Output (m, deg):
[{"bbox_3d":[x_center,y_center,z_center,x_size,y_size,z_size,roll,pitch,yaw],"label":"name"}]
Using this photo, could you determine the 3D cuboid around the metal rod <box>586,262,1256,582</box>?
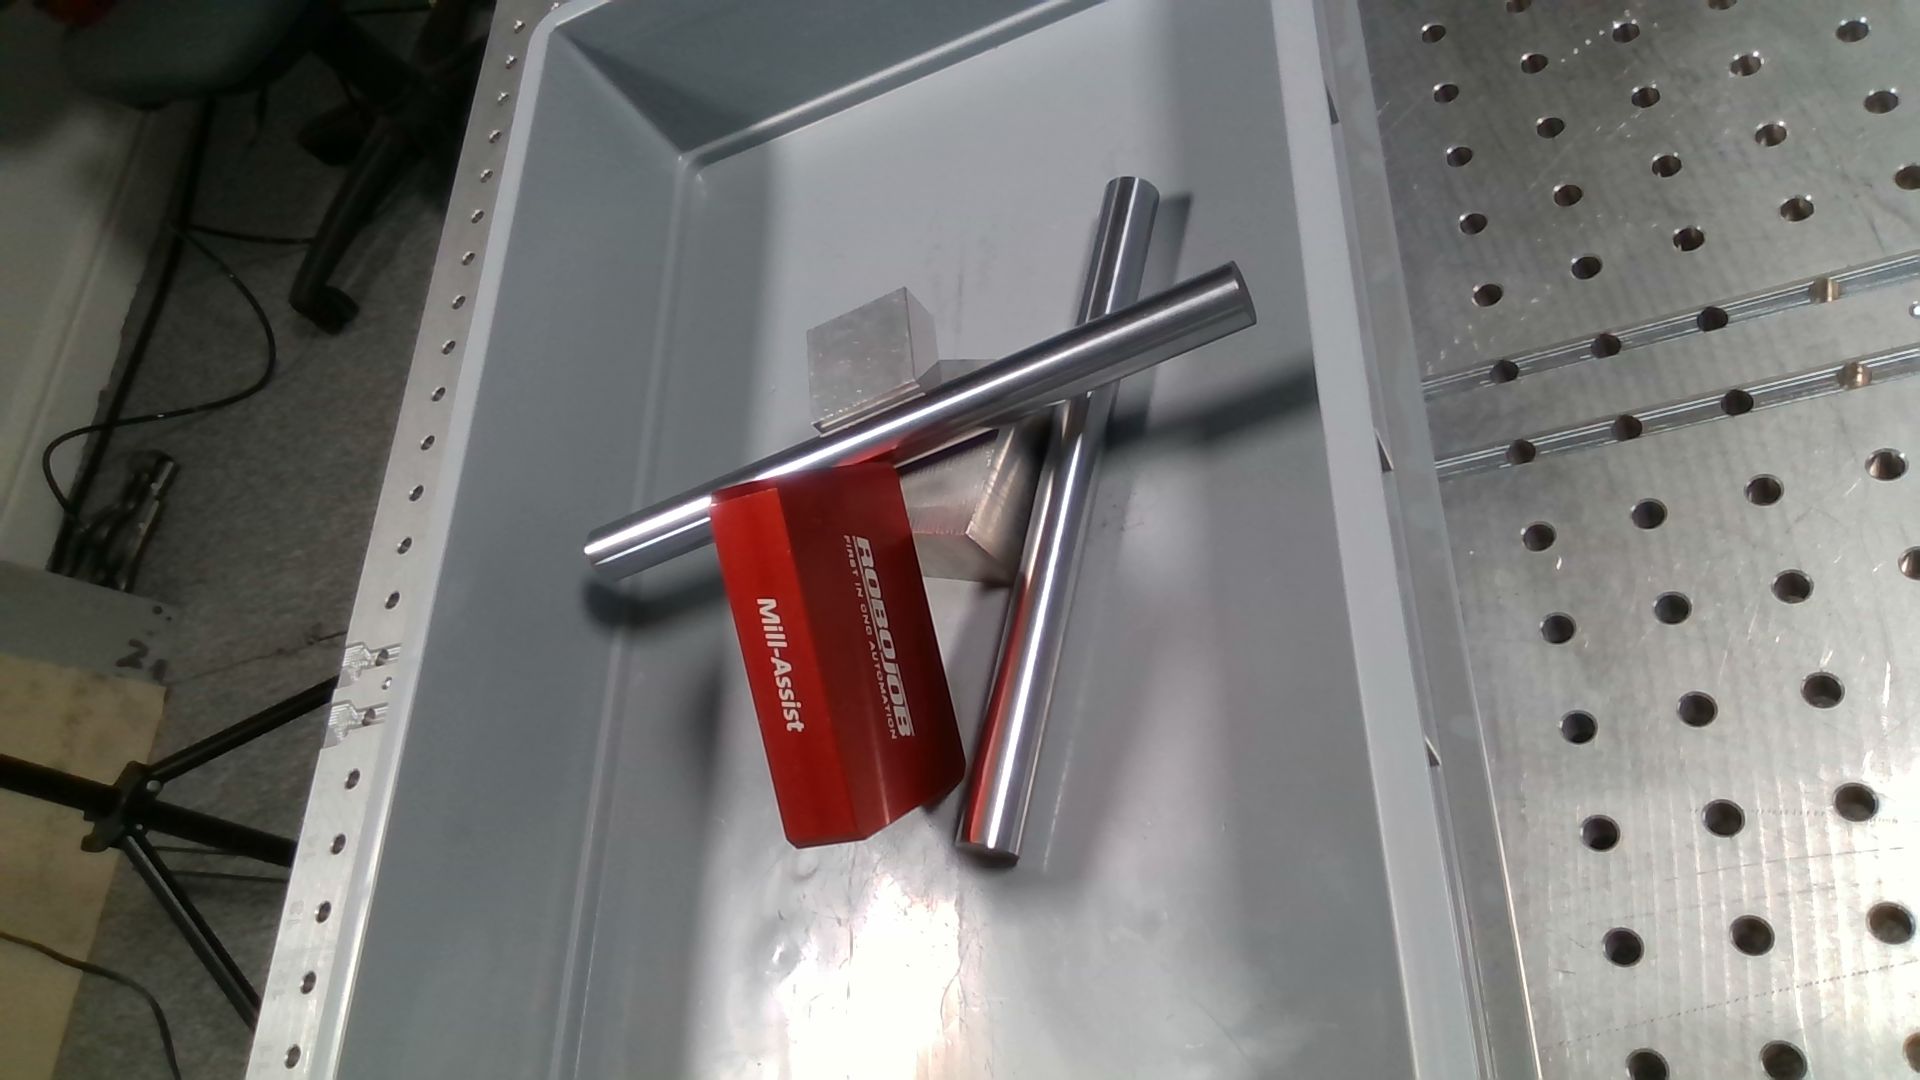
[{"bbox_3d":[-0.027,-0.041,0.558,0.300,0.025,0.025,-20,56,21],"label":"metal rod"}]

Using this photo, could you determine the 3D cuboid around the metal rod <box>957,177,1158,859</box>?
[{"bbox_3d":[0.044,-0.019,0.568,0.025,0.025,0.299,1,66,32],"label":"metal rod"}]

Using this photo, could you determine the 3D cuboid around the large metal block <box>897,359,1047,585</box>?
[{"bbox_3d":[-0.008,-0.029,0.589,0.080,0.050,0.080,4,68,33],"label":"large metal block"}]

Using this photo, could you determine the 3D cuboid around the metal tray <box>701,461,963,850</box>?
[{"bbox_3d":[-0.045,0.039,0.515,0.030,0.090,0.130,-14,91,26],"label":"metal tray"}]

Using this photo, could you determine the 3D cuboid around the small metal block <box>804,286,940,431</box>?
[{"bbox_3d":[-0.037,-0.071,0.580,0.050,0.025,0.050,-20,57,21],"label":"small metal block"}]
